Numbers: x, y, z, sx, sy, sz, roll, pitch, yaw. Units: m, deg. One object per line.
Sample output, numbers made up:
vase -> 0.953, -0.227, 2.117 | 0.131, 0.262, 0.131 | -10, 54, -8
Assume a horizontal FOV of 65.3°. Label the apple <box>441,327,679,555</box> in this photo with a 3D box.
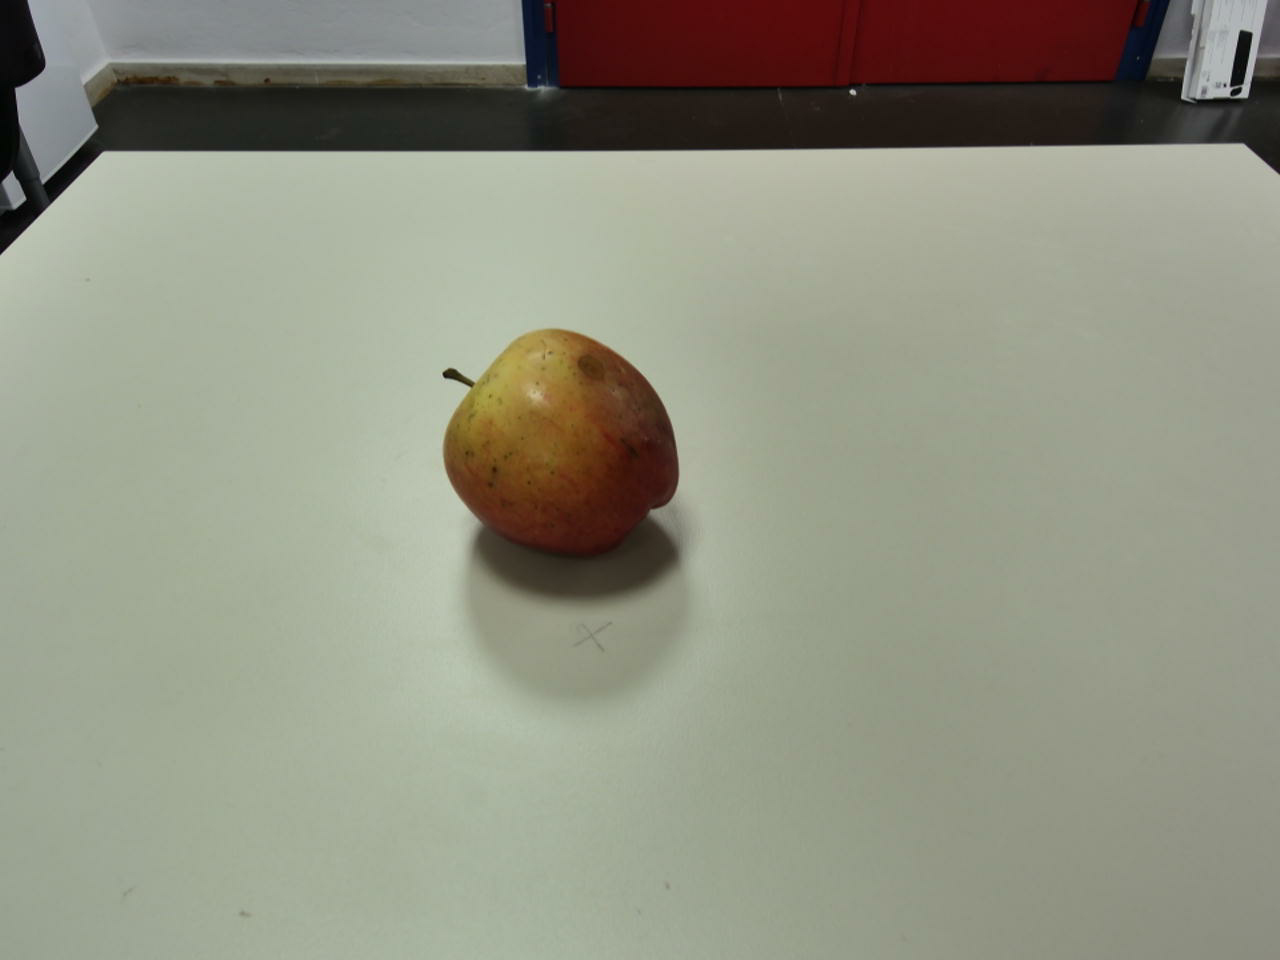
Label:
apple -> -0.032, -0.015, 0.390 | 0.086, 0.084, 0.093 | -24, 44, -27
